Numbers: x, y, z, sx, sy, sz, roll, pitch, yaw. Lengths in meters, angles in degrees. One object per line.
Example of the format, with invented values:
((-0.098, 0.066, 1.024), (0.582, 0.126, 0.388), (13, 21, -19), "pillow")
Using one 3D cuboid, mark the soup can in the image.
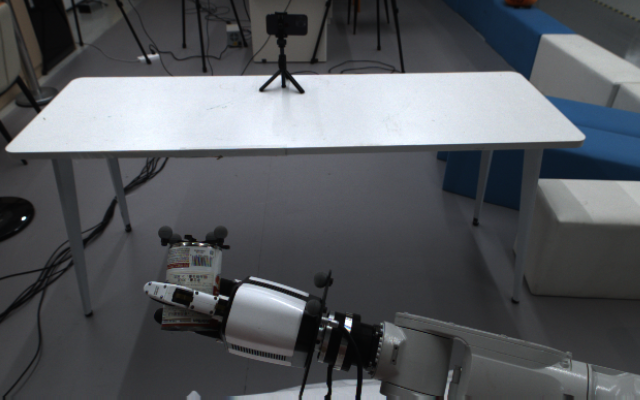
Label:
((-0.156, 0.110, 0.597), (0.067, 0.067, 0.101), (1, 73, -2), "soup can")
